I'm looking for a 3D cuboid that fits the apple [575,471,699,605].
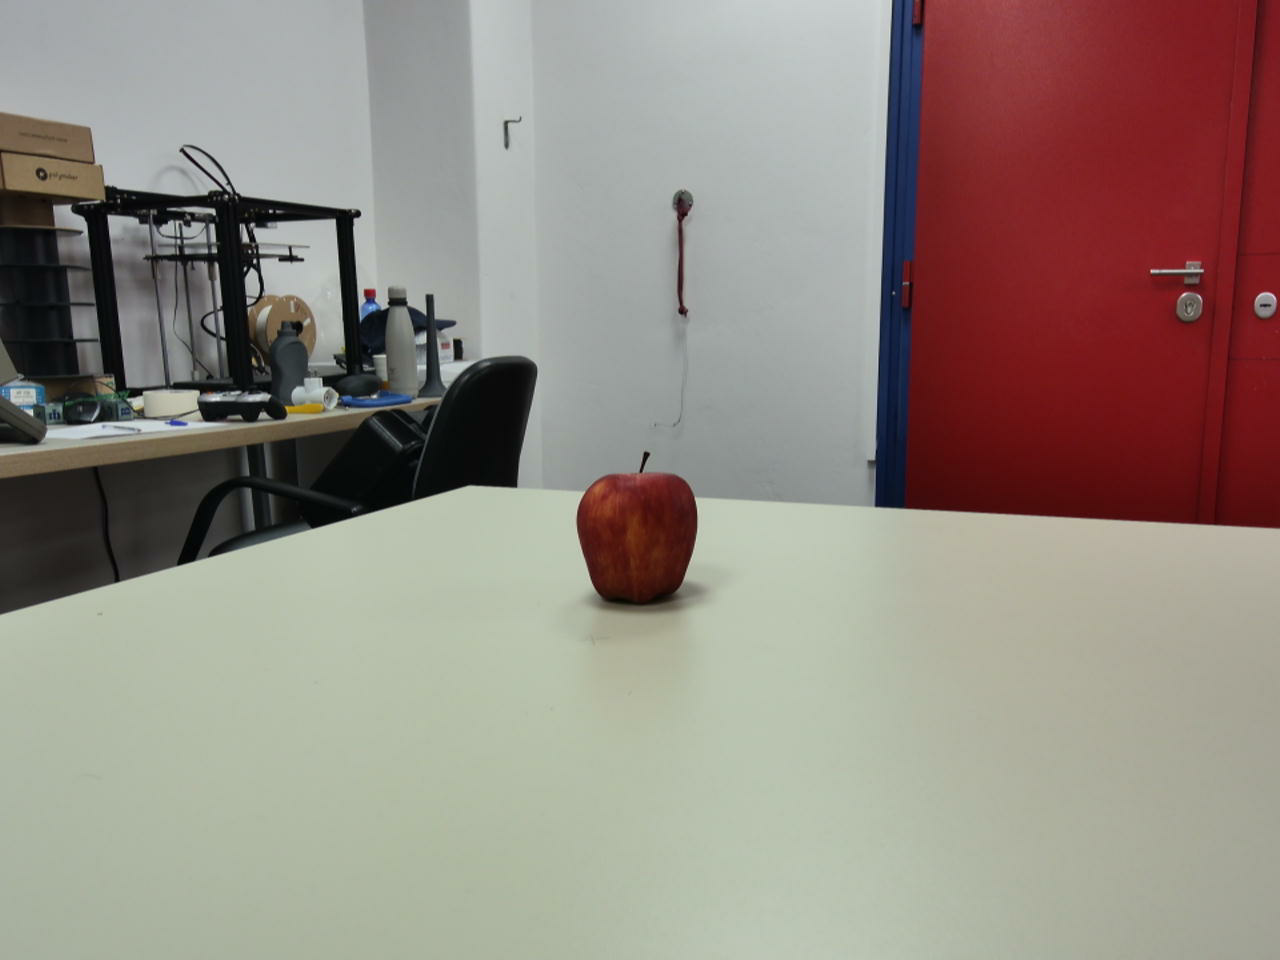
[{"bbox_3d":[-0.001,0.027,0.621,0.083,0.090,0.083,-1,7,0],"label":"apple"}]
